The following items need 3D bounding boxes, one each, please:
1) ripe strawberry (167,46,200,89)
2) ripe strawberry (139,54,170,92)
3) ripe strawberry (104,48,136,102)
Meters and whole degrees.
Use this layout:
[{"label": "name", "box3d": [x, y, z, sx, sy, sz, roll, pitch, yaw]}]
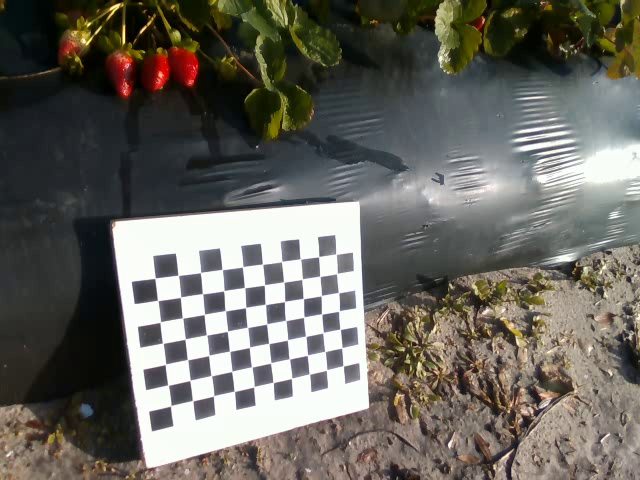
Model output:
[{"label": "ripe strawberry", "box3d": [-0.128, -0.161, 0.646, 0.035, 0.033, 0.041, -13, 50, -25]}, {"label": "ripe strawberry", "box3d": [-0.152, -0.157, 0.630, 0.031, 0.036, 0.039, 3, 29, -27]}, {"label": "ripe strawberry", "box3d": [-0.180, -0.153, 0.624, 0.032, 0.046, 0.023, -8, -6, -26]}]
